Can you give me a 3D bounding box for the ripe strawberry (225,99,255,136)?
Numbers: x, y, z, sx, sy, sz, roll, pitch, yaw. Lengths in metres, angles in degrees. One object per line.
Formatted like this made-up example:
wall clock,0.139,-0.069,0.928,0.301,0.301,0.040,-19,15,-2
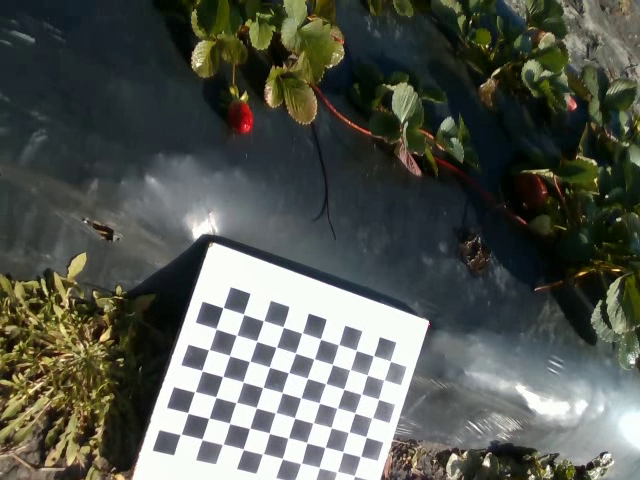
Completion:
ripe strawberry,-0.072,-0.107,0.628,0.028,0.031,0.041,-7,38,-20
